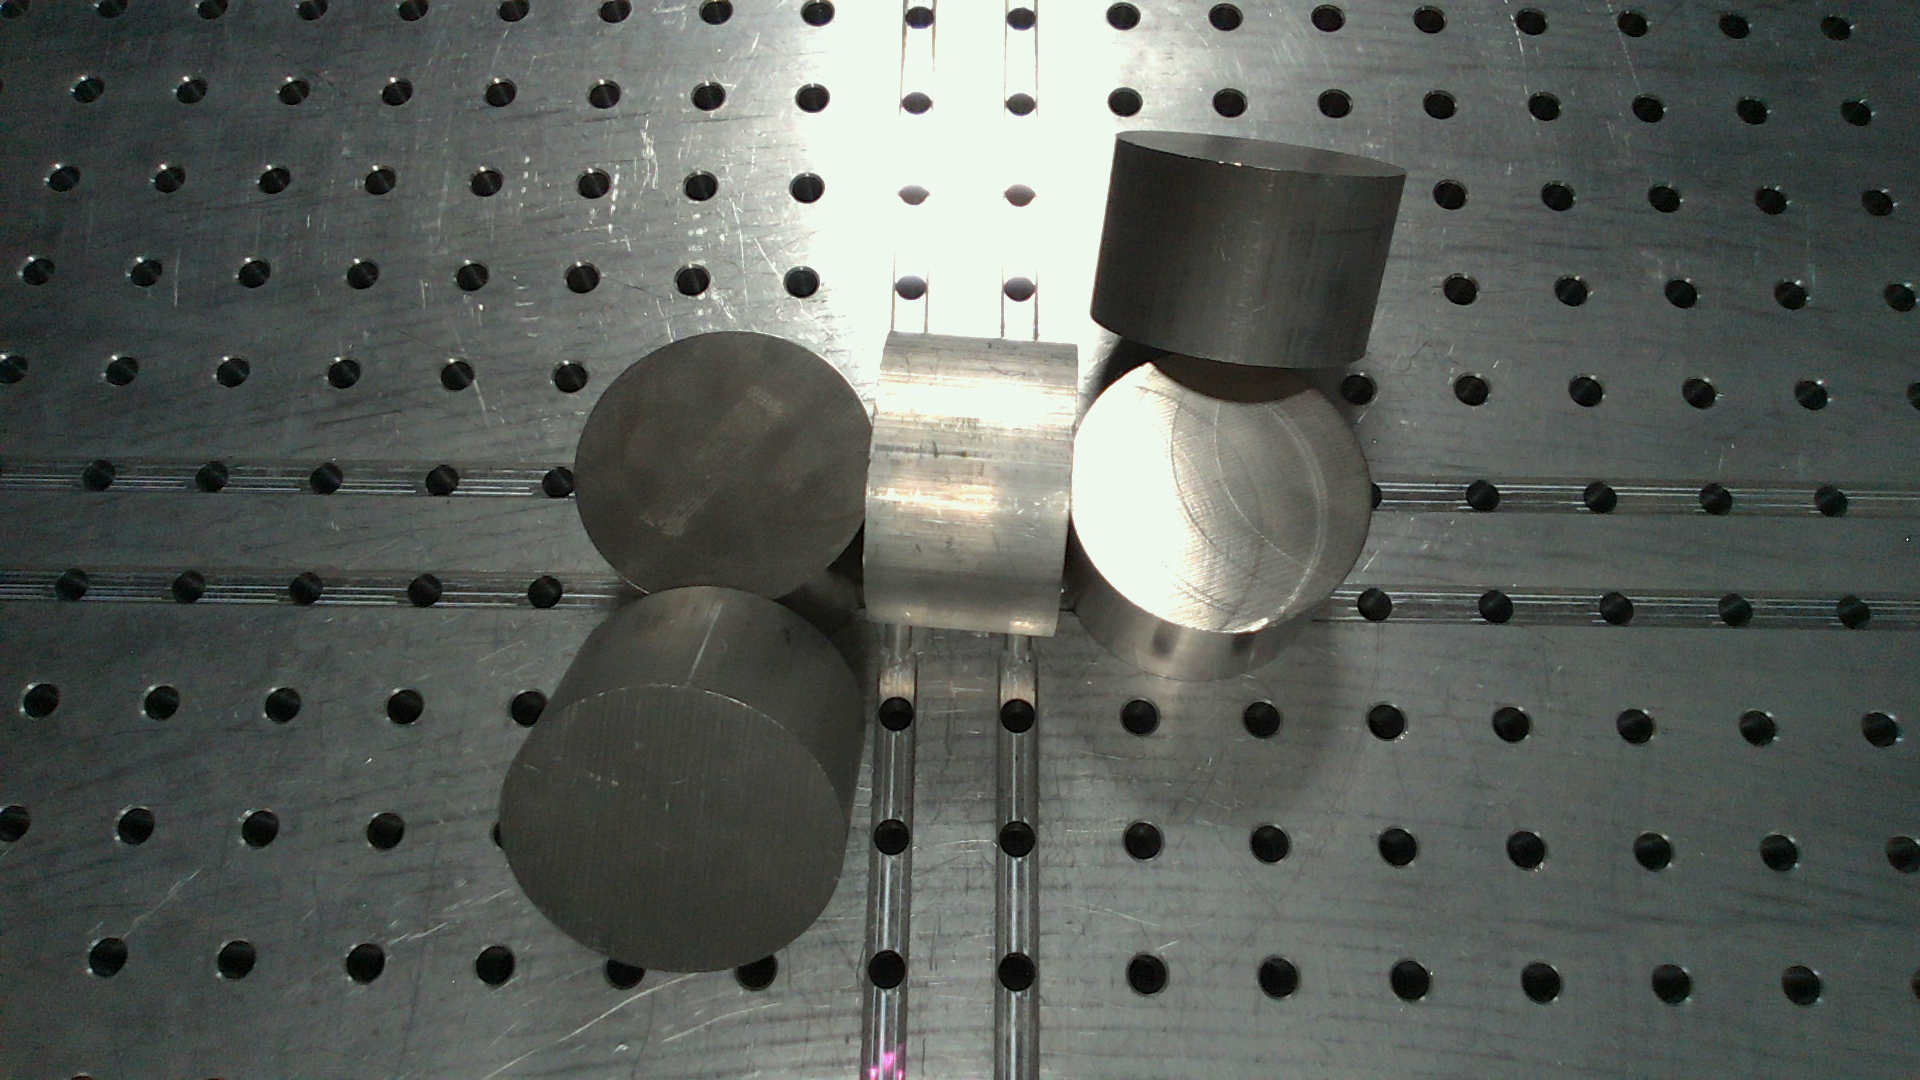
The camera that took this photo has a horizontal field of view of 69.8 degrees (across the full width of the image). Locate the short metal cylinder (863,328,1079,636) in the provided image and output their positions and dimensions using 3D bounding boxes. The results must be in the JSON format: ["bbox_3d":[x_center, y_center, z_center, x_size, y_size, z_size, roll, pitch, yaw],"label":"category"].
[{"bbox_3d":[0.004,-0.015,0.373,0.050,0.080,0.080,4,70,2],"label":"short metal cylinder"}]

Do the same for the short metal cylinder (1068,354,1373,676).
[{"bbox_3d":[0.069,-0.006,0.385,0.080,0.050,0.080,0,70,0],"label":"short metal cylinder"}]

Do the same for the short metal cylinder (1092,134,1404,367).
[{"bbox_3d":[0.080,-0.085,0.392,0.080,0.080,0.050,8,112,3],"label":"short metal cylinder"}]

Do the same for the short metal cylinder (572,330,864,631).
[{"bbox_3d":[-0.062,-0.012,0.387,0.080,0.050,0.080,0,70,0],"label":"short metal cylinder"}]

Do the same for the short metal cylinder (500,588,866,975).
[{"bbox_3d":[-0.065,0.059,0.340,0.080,0.050,0.080,0,114,1],"label":"short metal cylinder"}]
